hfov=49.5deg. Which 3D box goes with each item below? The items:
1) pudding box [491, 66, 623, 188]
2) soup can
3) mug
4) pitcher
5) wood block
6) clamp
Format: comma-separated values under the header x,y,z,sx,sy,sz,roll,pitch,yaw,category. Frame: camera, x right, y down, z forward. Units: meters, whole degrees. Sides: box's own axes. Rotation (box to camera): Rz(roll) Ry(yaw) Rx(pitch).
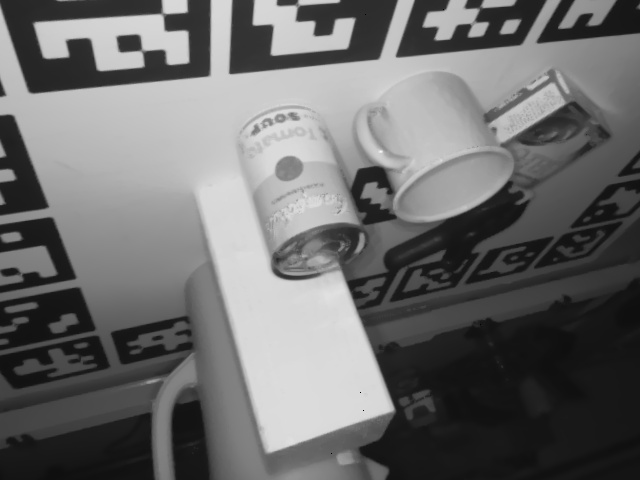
x,y,z,sx,sy,sz,roll,pitch,yaw,category
0.204,-0.092,0.601,0.115,0.039,0.089,16,131,-45,pudding box
-0.007,-0.038,0.496,0.068,0.102,0.067,-15,146,-9,soup can
0.081,-0.074,0.511,0.119,0.081,0.092,14,138,-44,mug
-0.051,0.142,0.621,0.191,0.243,0.132,-13,151,-16,pitcher
-0.019,0.058,0.537,0.090,0.207,0.090,-9,148,-10,wood block
0.165,-0.003,0.729,0.123,0.037,0.162,15,134,-34,clamp
